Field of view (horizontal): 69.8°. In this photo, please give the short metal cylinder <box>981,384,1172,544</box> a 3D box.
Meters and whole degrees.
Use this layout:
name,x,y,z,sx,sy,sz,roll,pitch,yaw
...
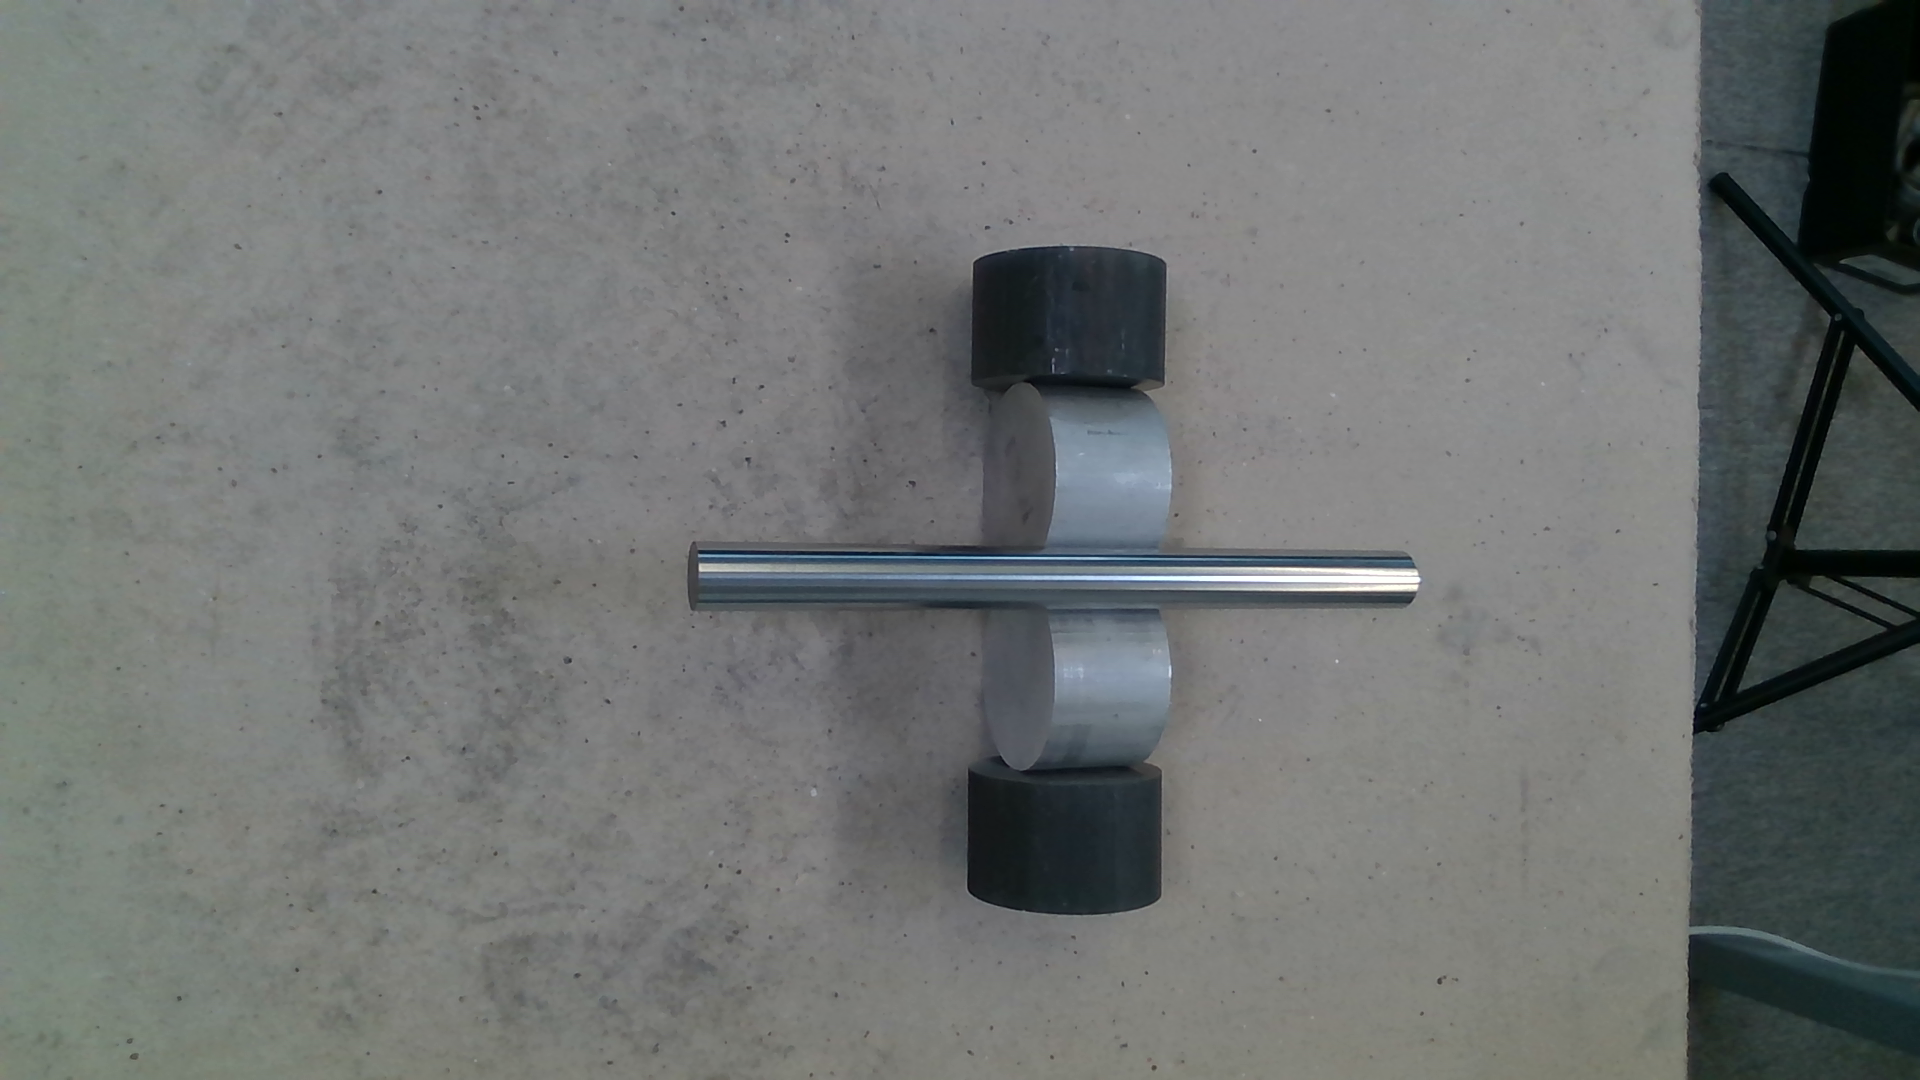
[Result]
name,x,y,z,sx,sy,sz,roll,pitch,yaw
short metal cylinder,0.047,-0.025,0.575,0.050,0.080,0.080,1,90,-20

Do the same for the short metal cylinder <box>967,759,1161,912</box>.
name,x,y,z,sx,sy,sz,roll,pitch,yaw
short metal cylinder,0.043,0.120,0.574,0.080,0.080,0.050,1,90,-20

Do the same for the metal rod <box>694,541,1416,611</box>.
name,x,y,z,sx,sy,sz,roll,pitch,yaw
metal rod,0.047,0.014,0.538,0.300,0.025,0.025,1,90,-20

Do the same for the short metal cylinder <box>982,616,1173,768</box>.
name,x,y,z,sx,sy,sz,roll,pitch,yaw
short metal cylinder,0.047,0.054,0.575,0.050,0.080,0.080,1,90,-20

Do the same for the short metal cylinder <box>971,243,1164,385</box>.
name,x,y,z,sx,sy,sz,roll,pitch,yaw
short metal cylinder,0.045,-0.090,0.574,0.080,0.080,0.050,1,90,-20
